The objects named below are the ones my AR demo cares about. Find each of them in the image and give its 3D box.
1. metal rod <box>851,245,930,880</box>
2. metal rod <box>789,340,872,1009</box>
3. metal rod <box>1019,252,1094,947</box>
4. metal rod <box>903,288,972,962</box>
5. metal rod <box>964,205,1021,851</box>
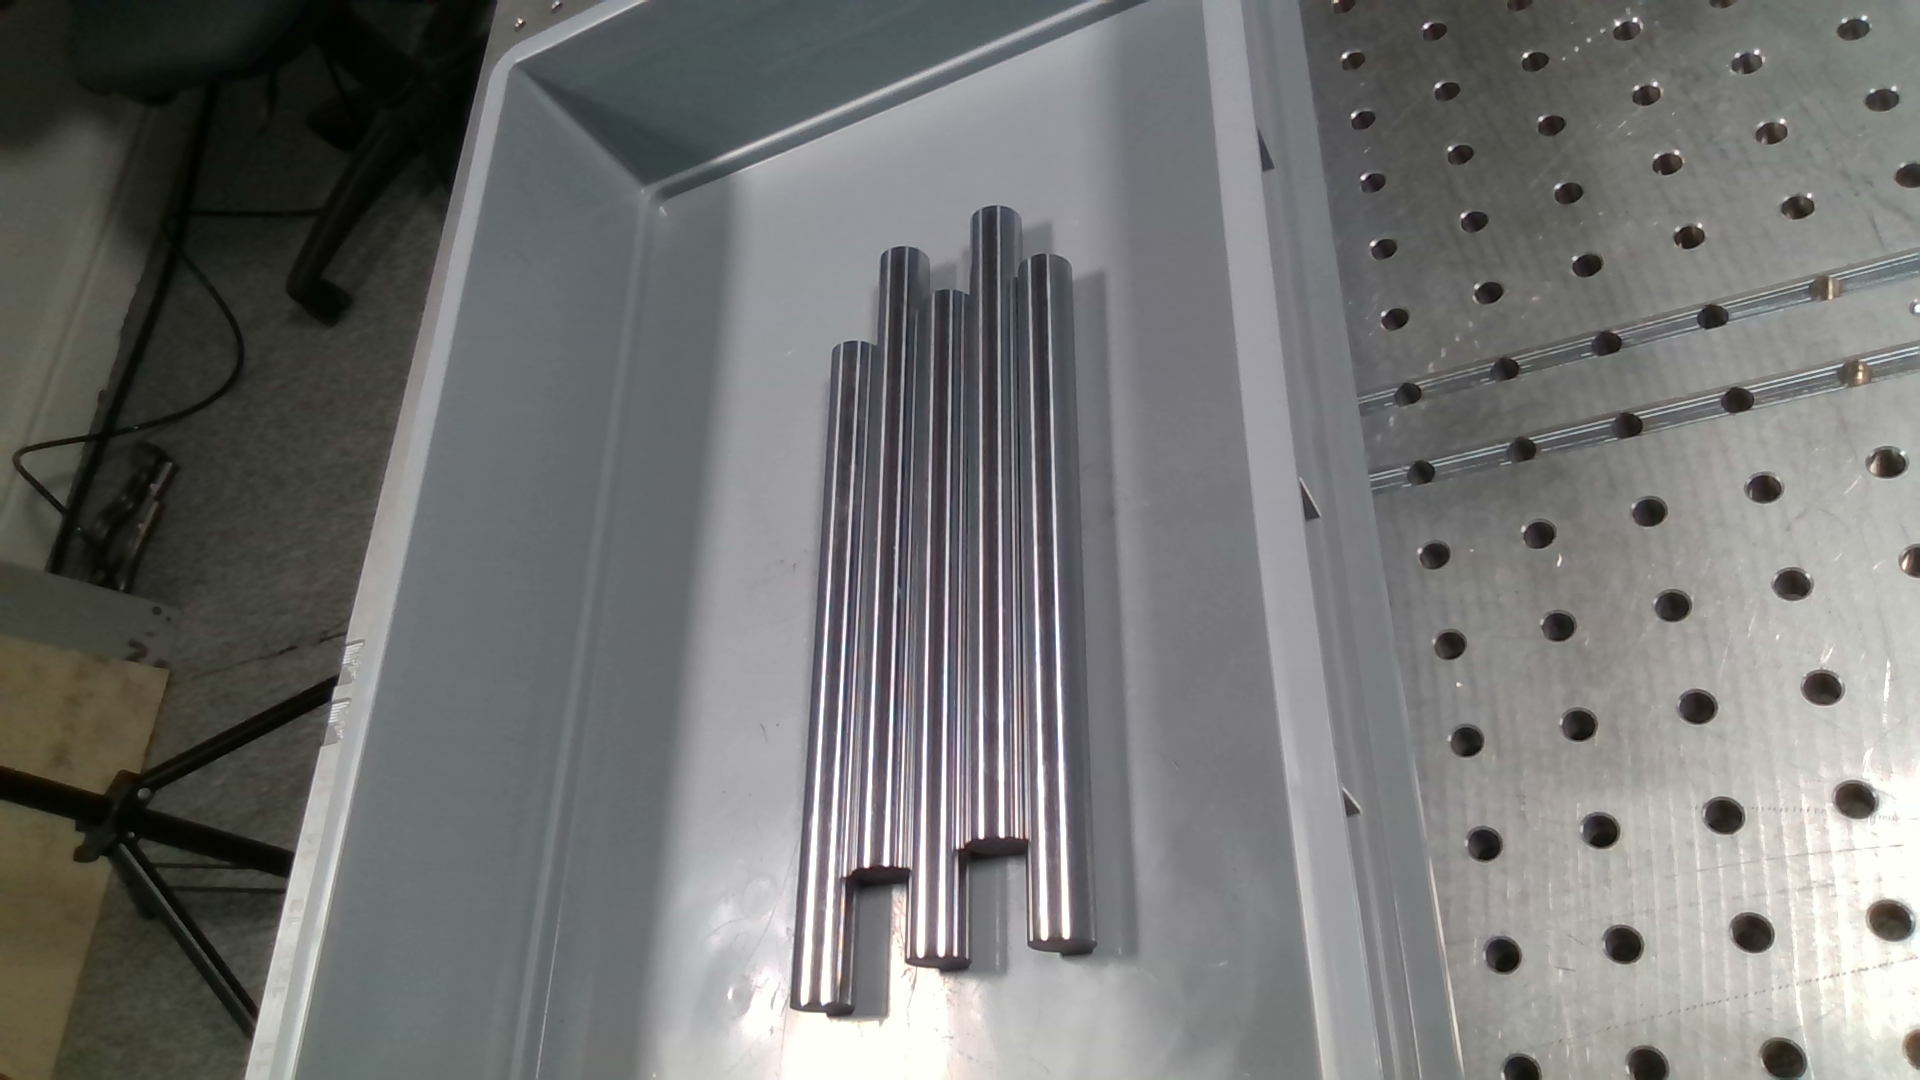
[{"bbox_3d":[-0.028,-0.003,0.604,0.025,0.025,0.299,-14,59,25],"label":"metal rod"},{"bbox_3d":[-0.051,0.044,0.593,0.025,0.025,0.299,-14,59,25],"label":"metal rod"},{"bbox_3d":[0.037,0.010,0.556,0.025,0.025,0.299,-14,59,25],"label":"metal rod"},{"bbox_3d":[-0.007,0.022,0.577,0.025,0.025,0.299,-14,59,25],"label":"metal rod"},{"bbox_3d":[0.016,-0.018,0.584,0.025,0.025,0.299,-14,59,25],"label":"metal rod"}]
